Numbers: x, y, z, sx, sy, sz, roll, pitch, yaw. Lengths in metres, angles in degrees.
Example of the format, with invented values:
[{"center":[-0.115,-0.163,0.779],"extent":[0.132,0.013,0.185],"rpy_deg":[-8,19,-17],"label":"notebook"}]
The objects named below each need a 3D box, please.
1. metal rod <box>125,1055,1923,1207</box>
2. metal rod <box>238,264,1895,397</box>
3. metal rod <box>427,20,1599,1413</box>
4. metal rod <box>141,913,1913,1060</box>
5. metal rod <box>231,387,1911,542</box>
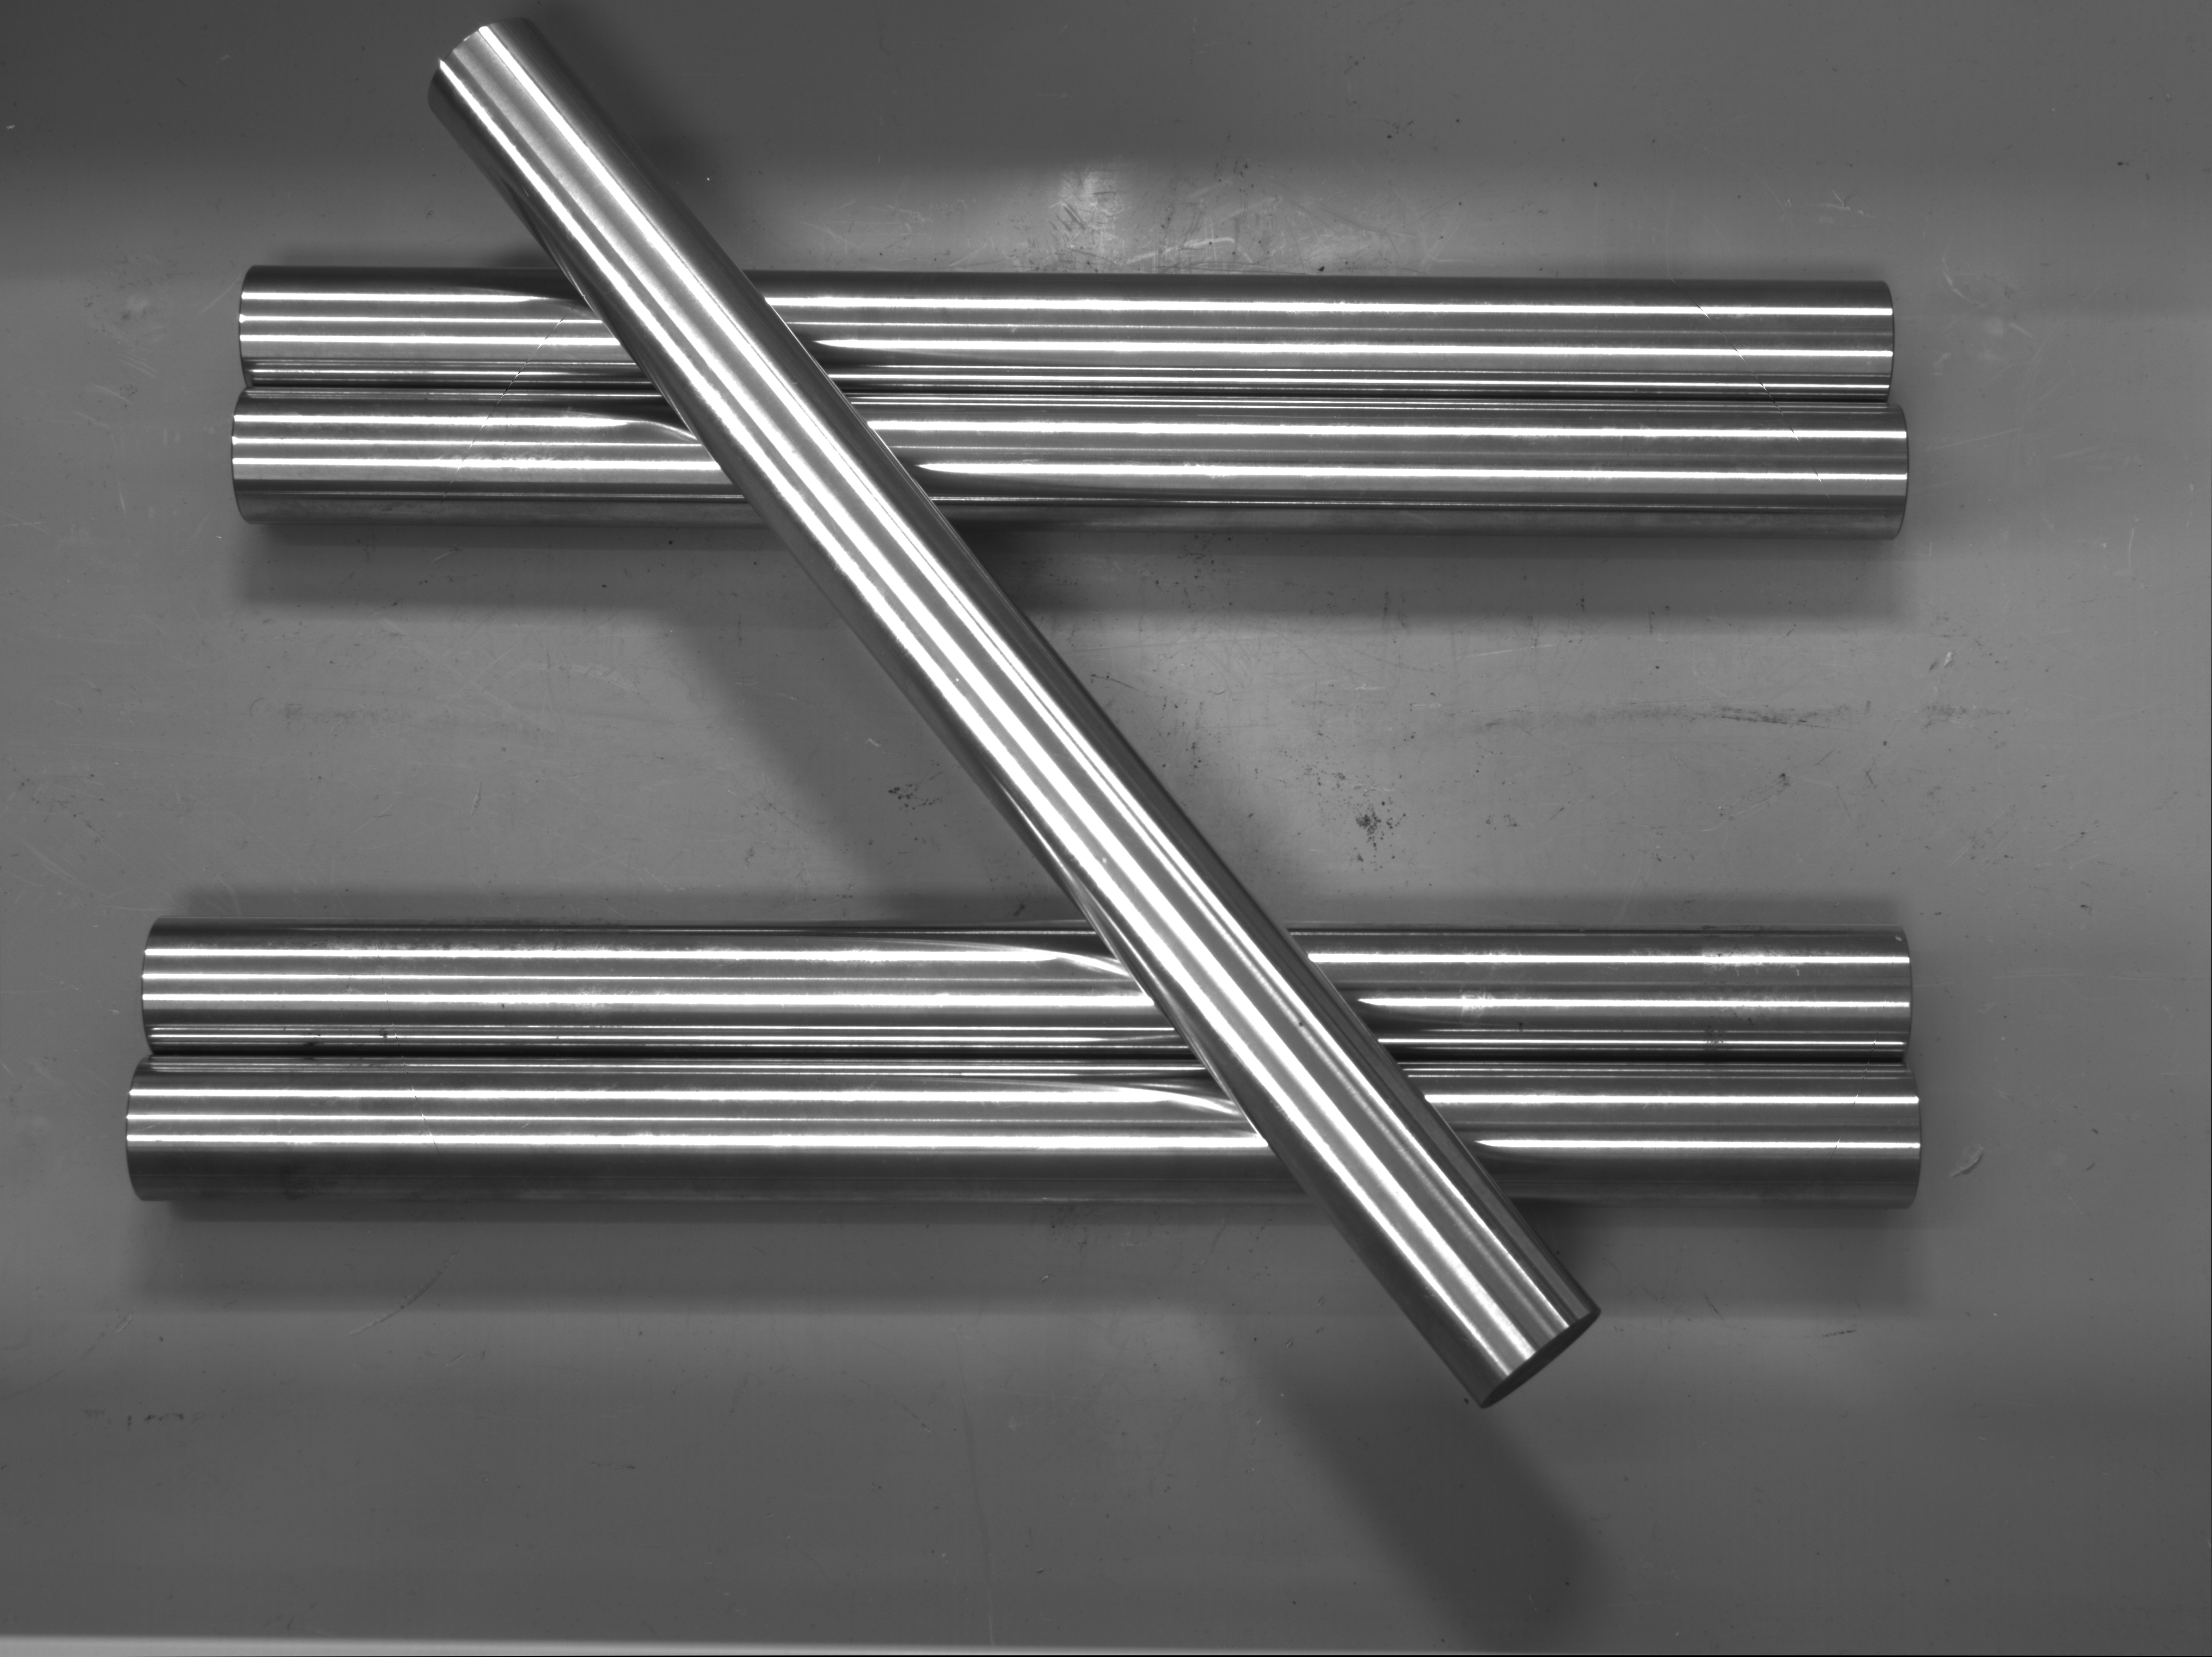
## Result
[{"center":[-0.014,0.051,0.624],"extent":[0.300,0.025,0.025],"rpy_deg":[0,70,0],"label":"metal rod"},{"center":[-0.007,-0.090,0.676],"extent":[0.300,0.025,0.025],"rpy_deg":[1,70,0],"label":"metal rod"},{"center":[-0.022,-0.026,0.627],"extent":[0.025,0.025,0.300],"rpy_deg":[-36,74,-12],"label":"metal rod"},{"center":[-0.013,0.028,0.633],"extent":[0.300,0.025,0.025],"rpy_deg":[0,70,0],"label":"metal rod"},{"center":[-0.006,-0.066,0.667],"extent":[0.300,0.025,0.025],"rpy_deg":[1,70,0],"label":"metal rod"}]
